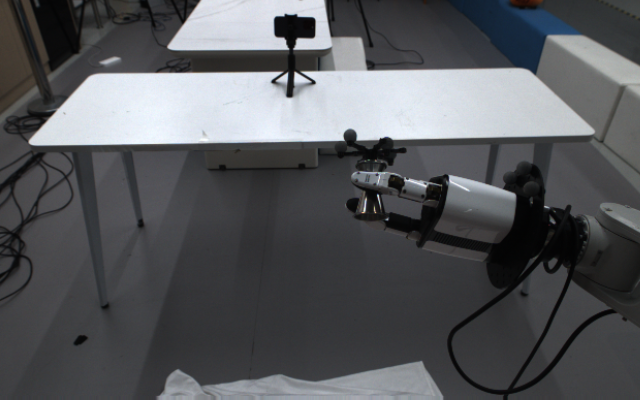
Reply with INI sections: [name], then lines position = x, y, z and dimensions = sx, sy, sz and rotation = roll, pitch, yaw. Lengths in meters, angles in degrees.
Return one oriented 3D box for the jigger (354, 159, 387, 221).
[jigger]
position = 0.063, -0.012, 0.603
dimensions = 0.043, 0.043, 0.071
rotation = 3, 76, 1
